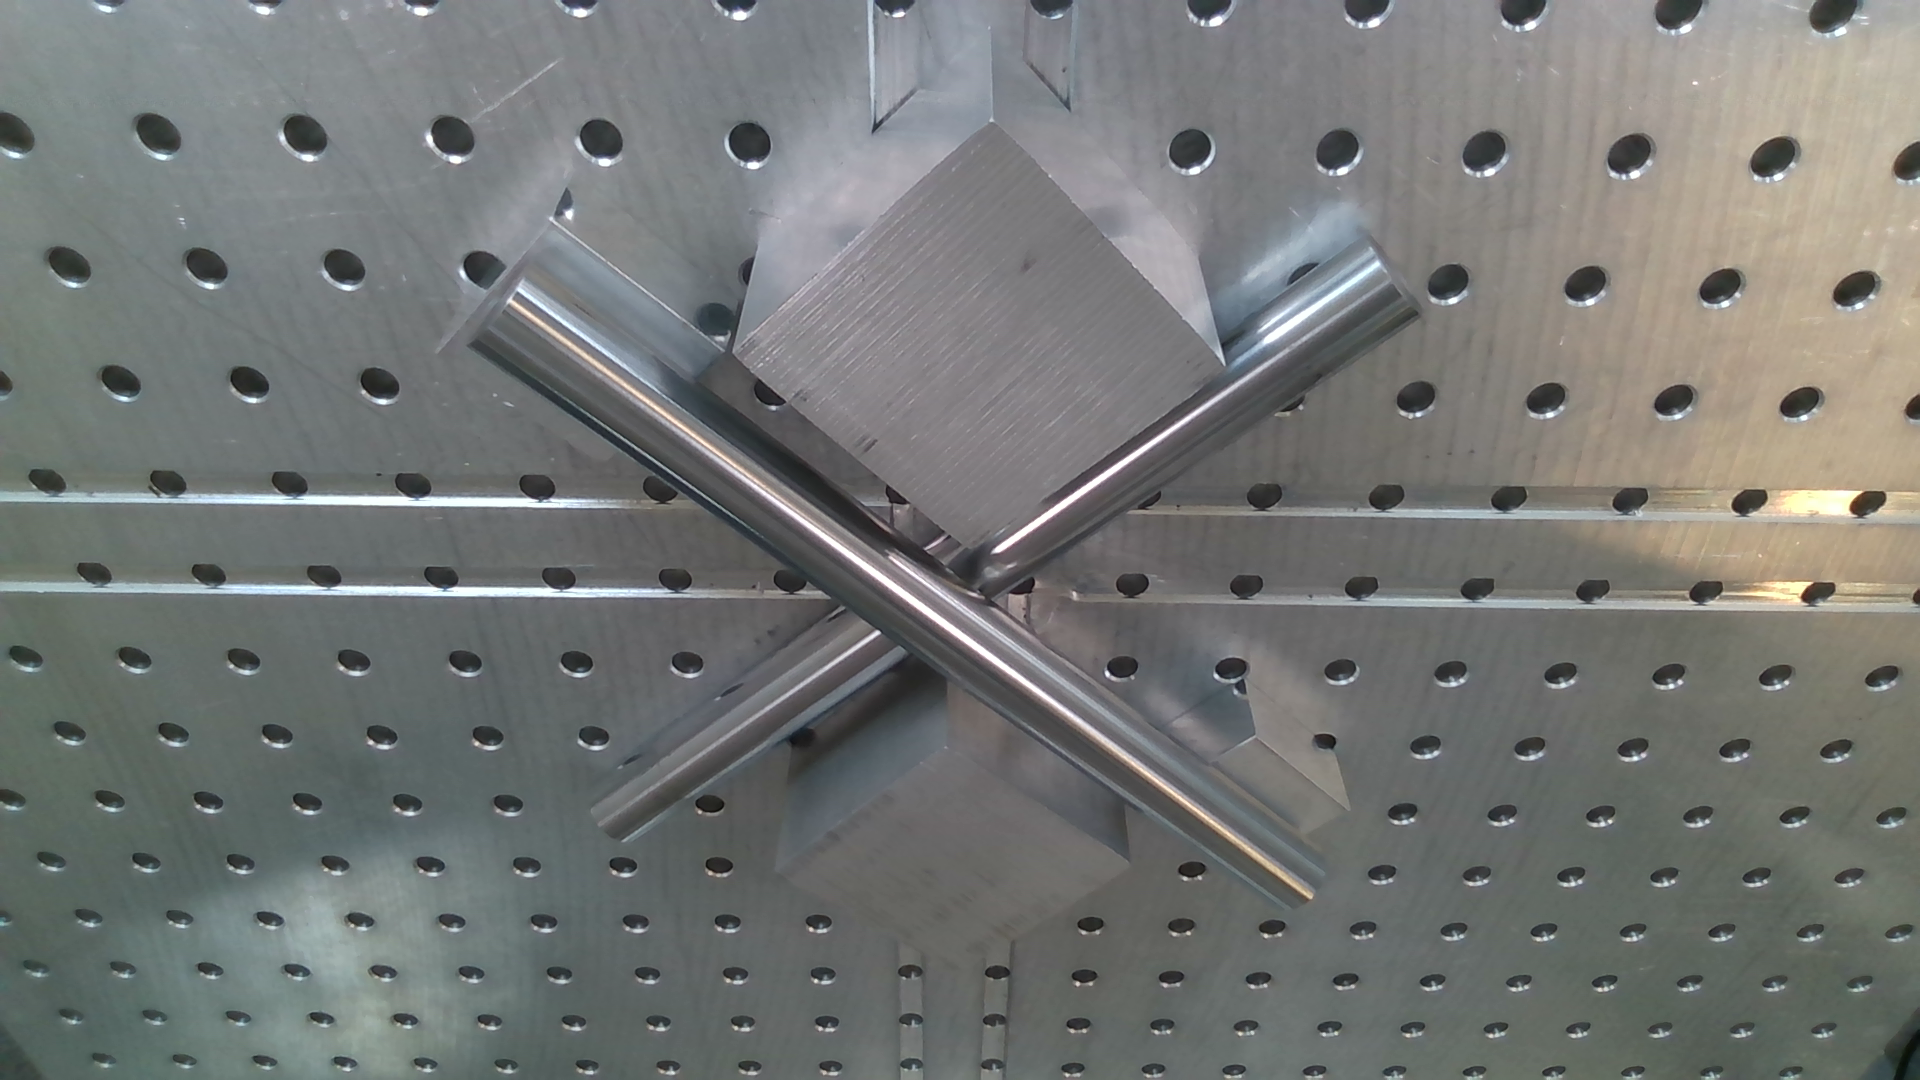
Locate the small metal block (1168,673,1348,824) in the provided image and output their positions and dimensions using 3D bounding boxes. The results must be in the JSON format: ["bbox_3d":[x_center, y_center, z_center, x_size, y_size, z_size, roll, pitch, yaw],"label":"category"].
[{"bbox_3d":[0.092,0.078,0.459,0.050,0.025,0.050,-37,121,27],"label":"small metal block"}]

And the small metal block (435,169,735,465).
[{"bbox_3d":[-0.093,-0.055,0.346,0.050,0.025,0.050,37,121,-27],"label":"small metal block"}]

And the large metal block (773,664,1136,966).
[{"bbox_3d":[-0.002,0.085,0.447,0.080,0.050,0.080,36,122,-26],"label":"large metal block"}]

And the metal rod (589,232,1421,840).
[{"bbox_3d":[-0.005,0.013,0.401,0.300,0.025,0.025,-35,122,26],"label":"metal rod"}]

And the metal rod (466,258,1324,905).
[{"bbox_3d":[0.002,0.027,0.381,0.301,0.025,0.025,37,121,-27],"label":"metal rod"}]

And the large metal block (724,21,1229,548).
[{"bbox_3d":[0.004,-0.057,0.327,0.080,0.050,0.080,-36,122,26],"label":"large metal block"}]
